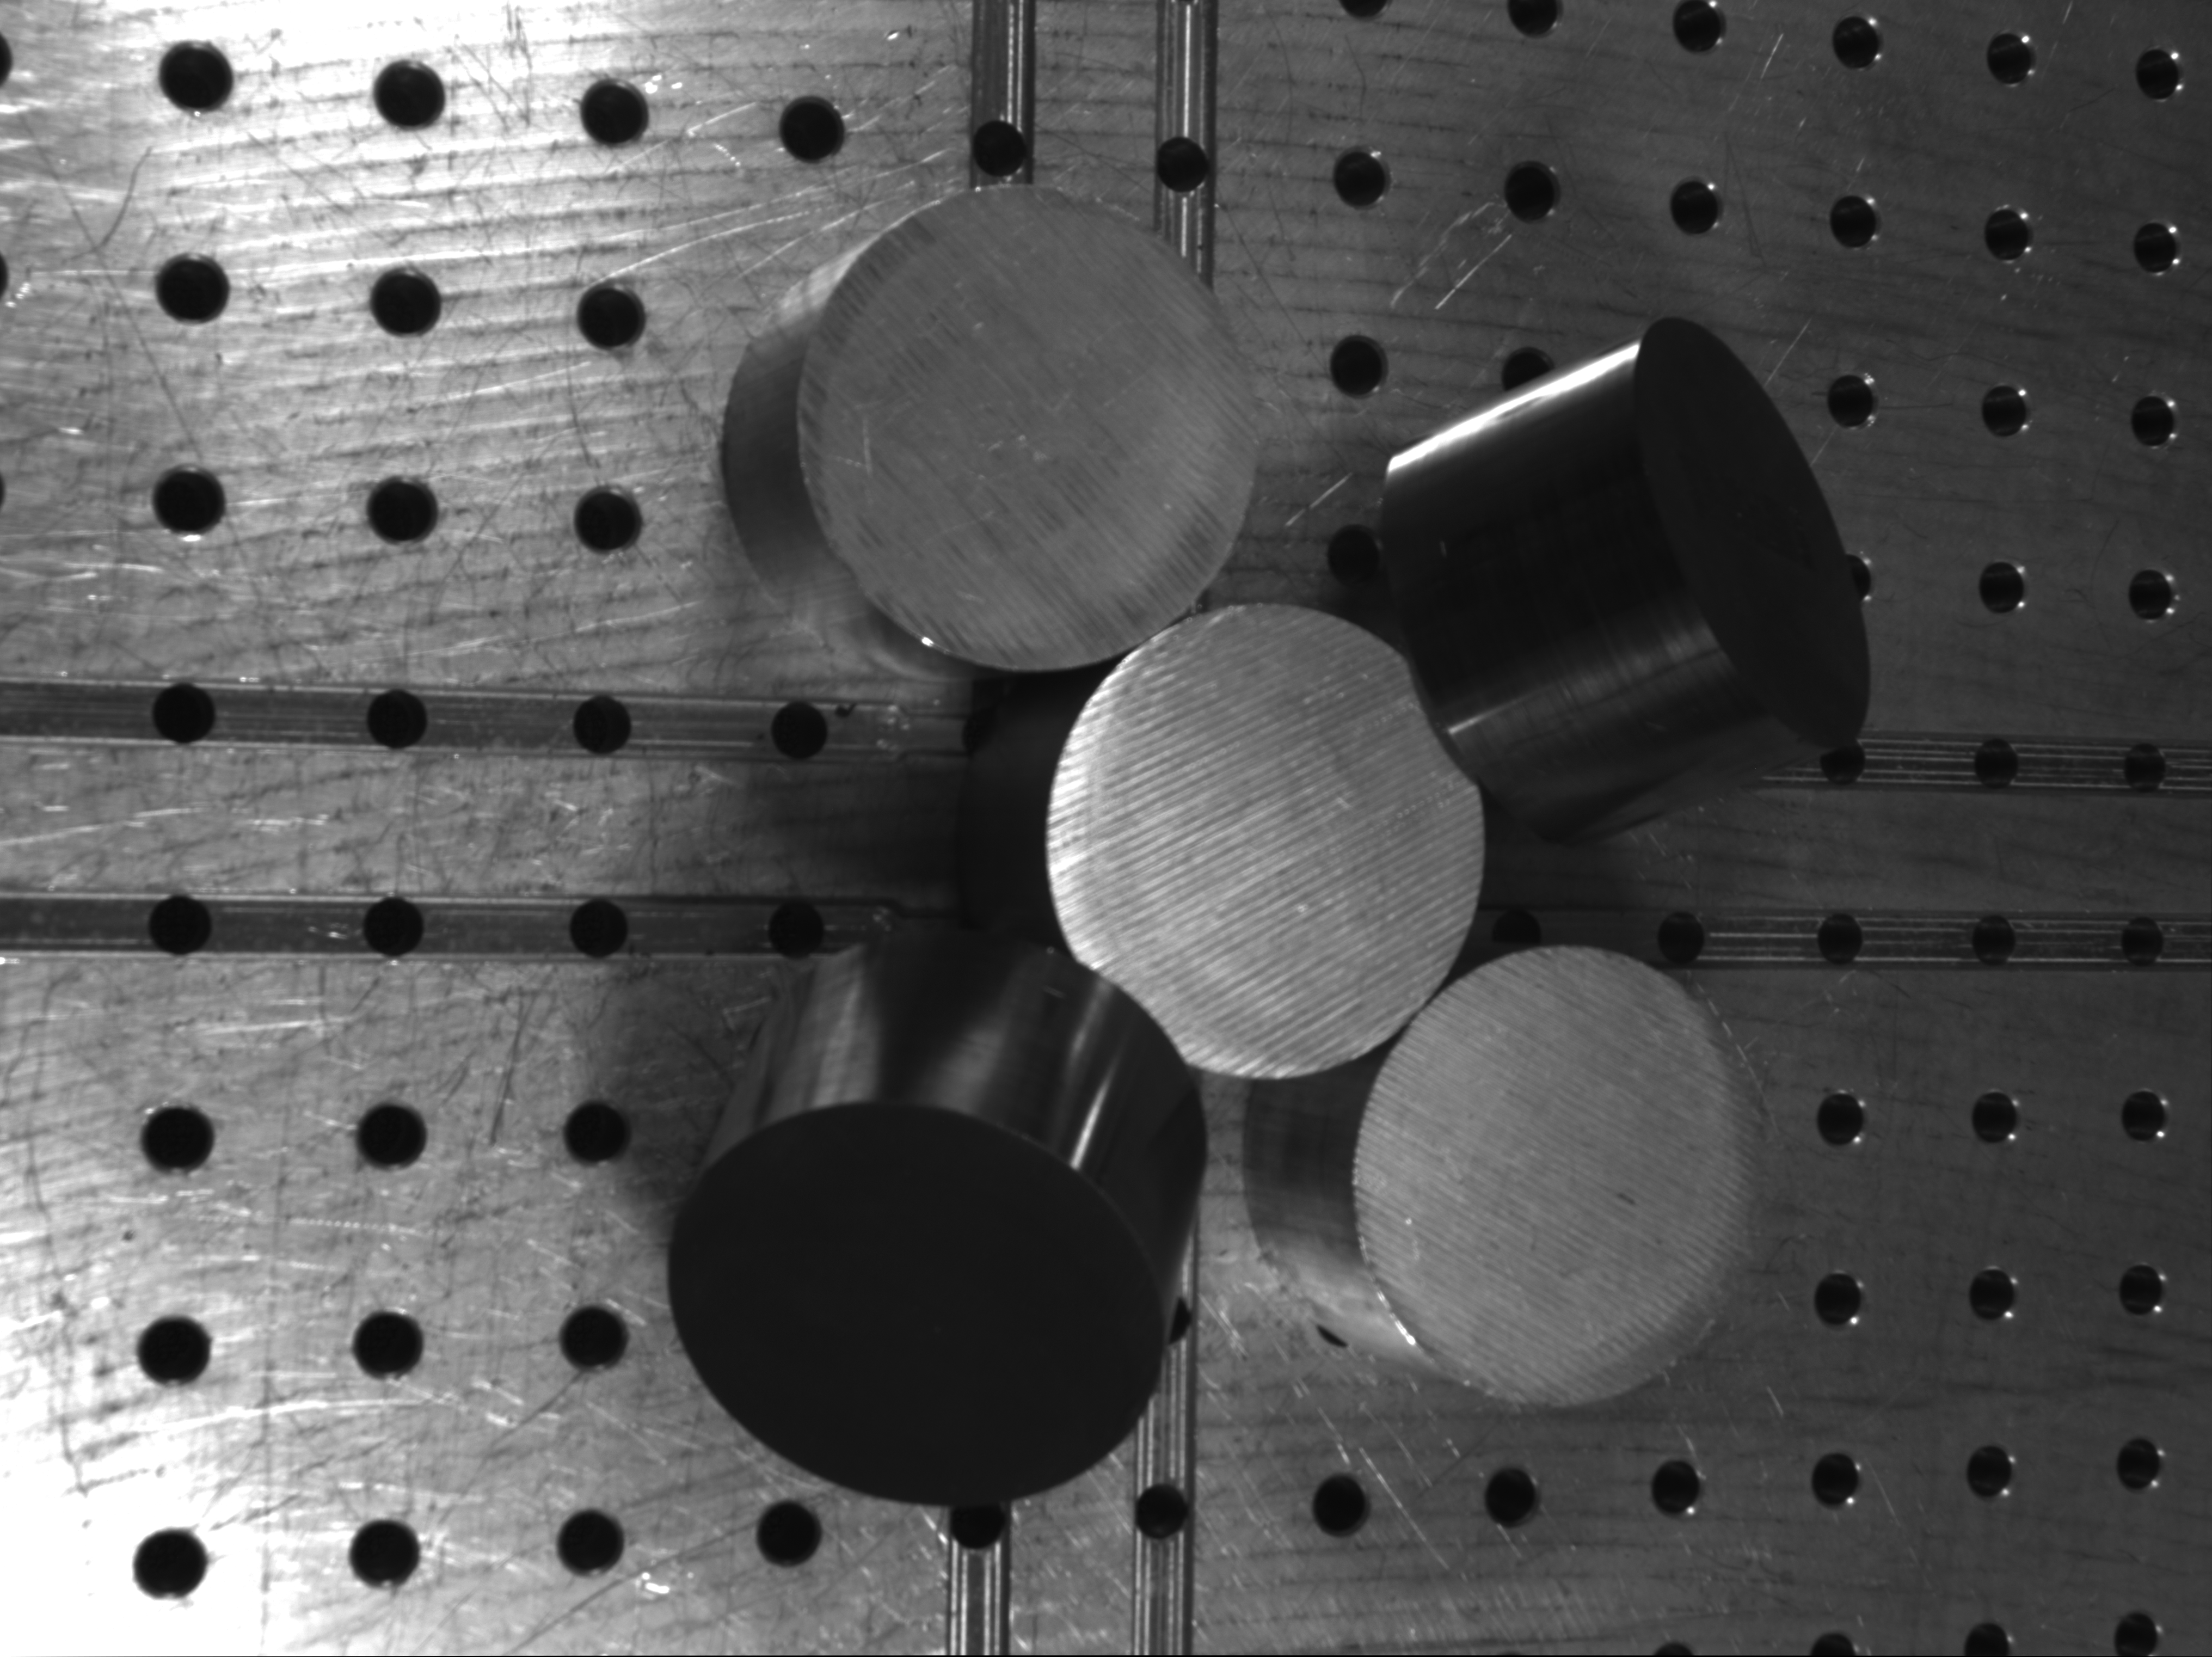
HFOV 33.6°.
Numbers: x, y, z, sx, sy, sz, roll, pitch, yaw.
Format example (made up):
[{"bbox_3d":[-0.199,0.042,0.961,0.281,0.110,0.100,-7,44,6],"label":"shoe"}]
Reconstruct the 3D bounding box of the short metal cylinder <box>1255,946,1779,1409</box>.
[{"bbox_3d":[0.073,0.061,0.659,0.080,0.050,0.080,0,90,-20],"label":"short metal cylinder"}]

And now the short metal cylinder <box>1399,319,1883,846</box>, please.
[{"bbox_3d":[0.095,-0.043,0.646,0.080,0.050,0.080,36,43,-41],"label":"short metal cylinder"}]

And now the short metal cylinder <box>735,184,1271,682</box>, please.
[{"bbox_3d":[-0.018,-0.066,0.626,0.080,0.050,0.080,0,90,-20],"label":"short metal cylinder"}]

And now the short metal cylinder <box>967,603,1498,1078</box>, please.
[{"bbox_3d":[0.021,0.002,0.640,0.080,0.050,0.080,0,90,-20],"label":"short metal cylinder"}]

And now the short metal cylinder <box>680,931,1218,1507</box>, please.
[{"bbox_3d":[-0.025,0.064,0.602,0.080,0.050,0.080,4,121,8],"label":"short metal cylinder"}]
